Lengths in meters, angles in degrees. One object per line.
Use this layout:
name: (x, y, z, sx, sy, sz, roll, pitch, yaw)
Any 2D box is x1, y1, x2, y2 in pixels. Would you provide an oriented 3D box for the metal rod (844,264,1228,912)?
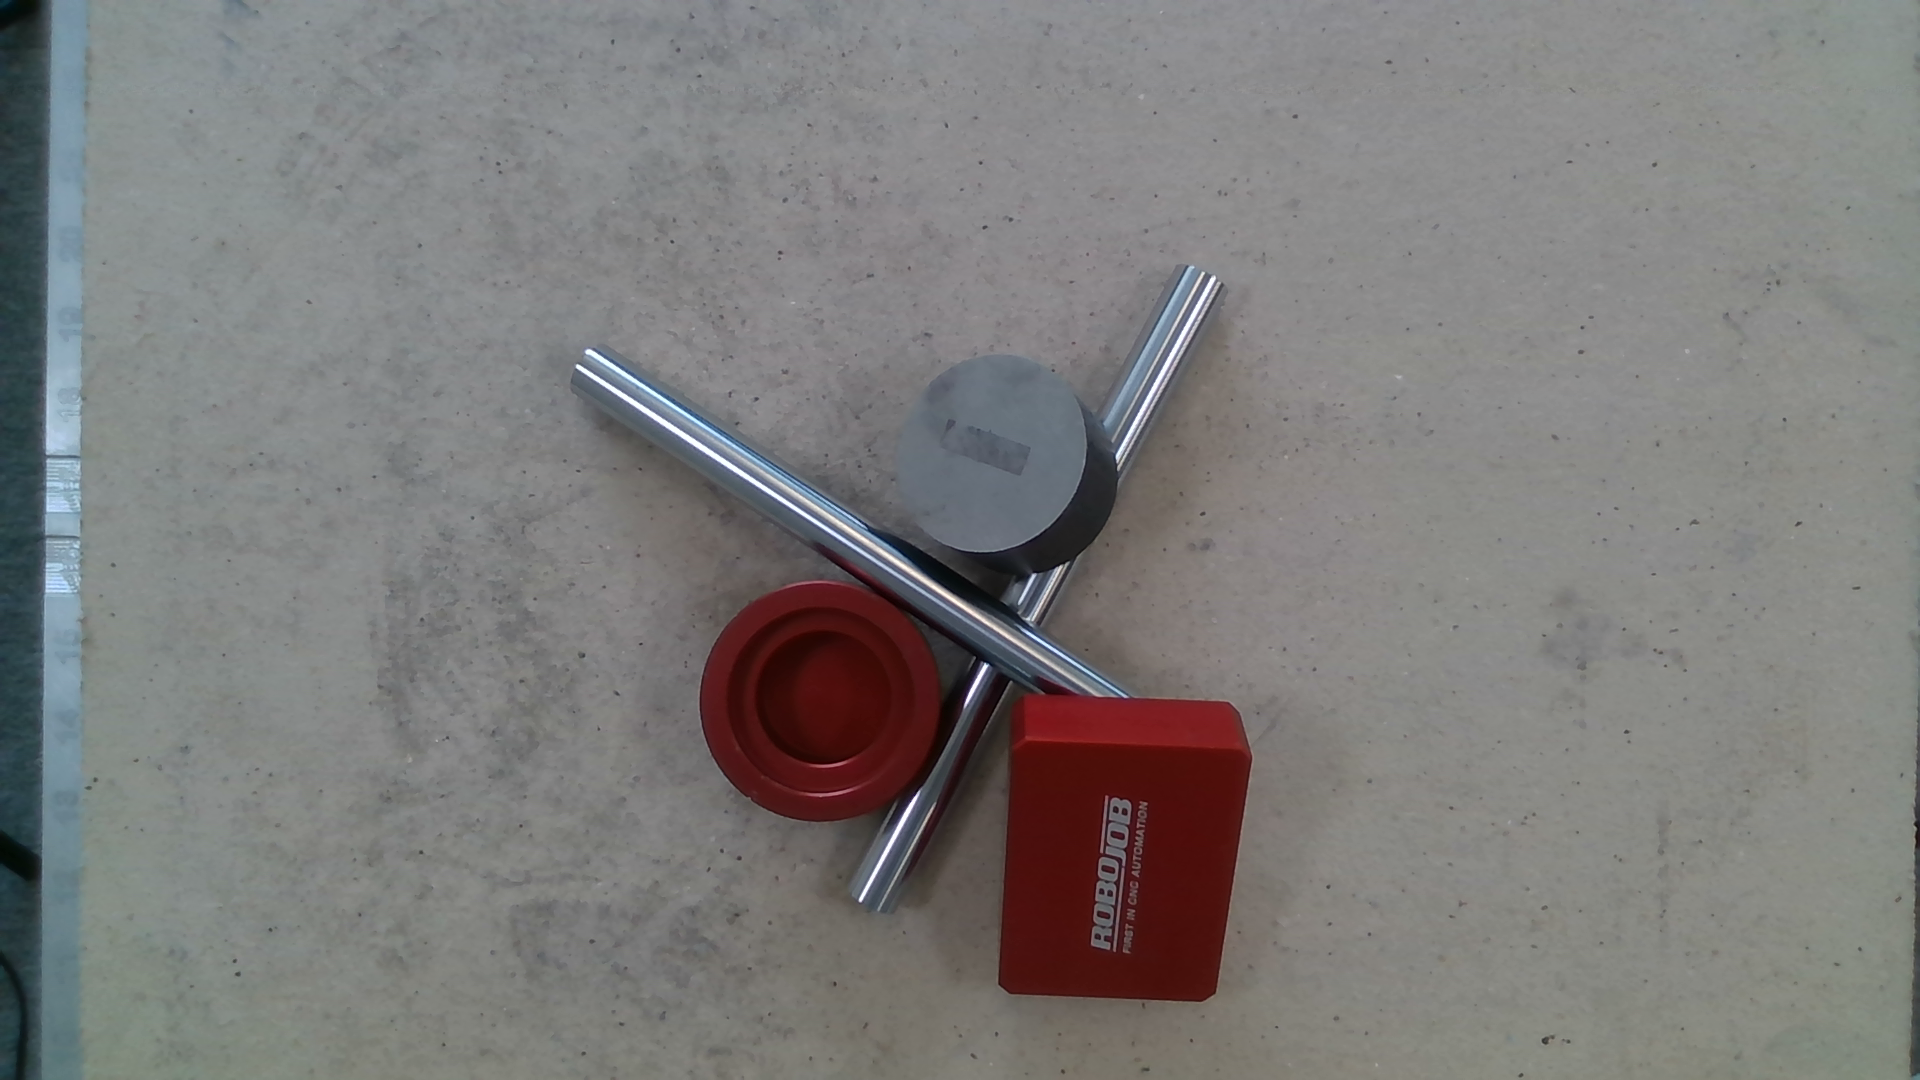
metal rod: (0.032, 0.021, 0.589, 0.025, 0.025, 0.300, 28, 90, 0)

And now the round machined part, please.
round machined part: (-0.057, 0.065, 0.580, 0.098, 0.042, 0.098, 0, 91, 0)

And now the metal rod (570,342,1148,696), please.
metal rod: (-0.033, 0.007, 0.570, 0.300, 0.025, 0.025, 33, 90, 6)

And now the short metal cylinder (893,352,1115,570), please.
short metal cylinder: (0.019, -0.031, 0.562, 0.080, 0.050, 0.080, -4, 77, 19)

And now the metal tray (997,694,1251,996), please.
metal tray: (0.063, 0.126, 0.558, 0.090, 0.030, 0.130, 2, 118, 0)
